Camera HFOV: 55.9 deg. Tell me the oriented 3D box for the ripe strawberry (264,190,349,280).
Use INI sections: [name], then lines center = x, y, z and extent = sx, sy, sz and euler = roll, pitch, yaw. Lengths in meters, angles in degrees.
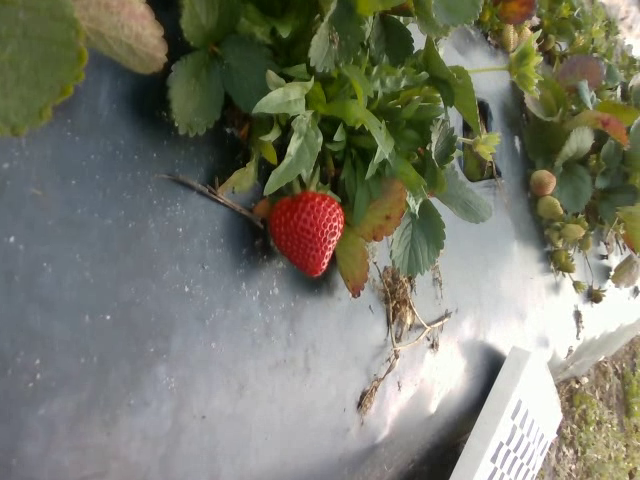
[ripe strawberry]
center = -0.009, -0.003, 0.313
extent = 0.042, 0.051, 0.043
euler = -14, -19, 31
